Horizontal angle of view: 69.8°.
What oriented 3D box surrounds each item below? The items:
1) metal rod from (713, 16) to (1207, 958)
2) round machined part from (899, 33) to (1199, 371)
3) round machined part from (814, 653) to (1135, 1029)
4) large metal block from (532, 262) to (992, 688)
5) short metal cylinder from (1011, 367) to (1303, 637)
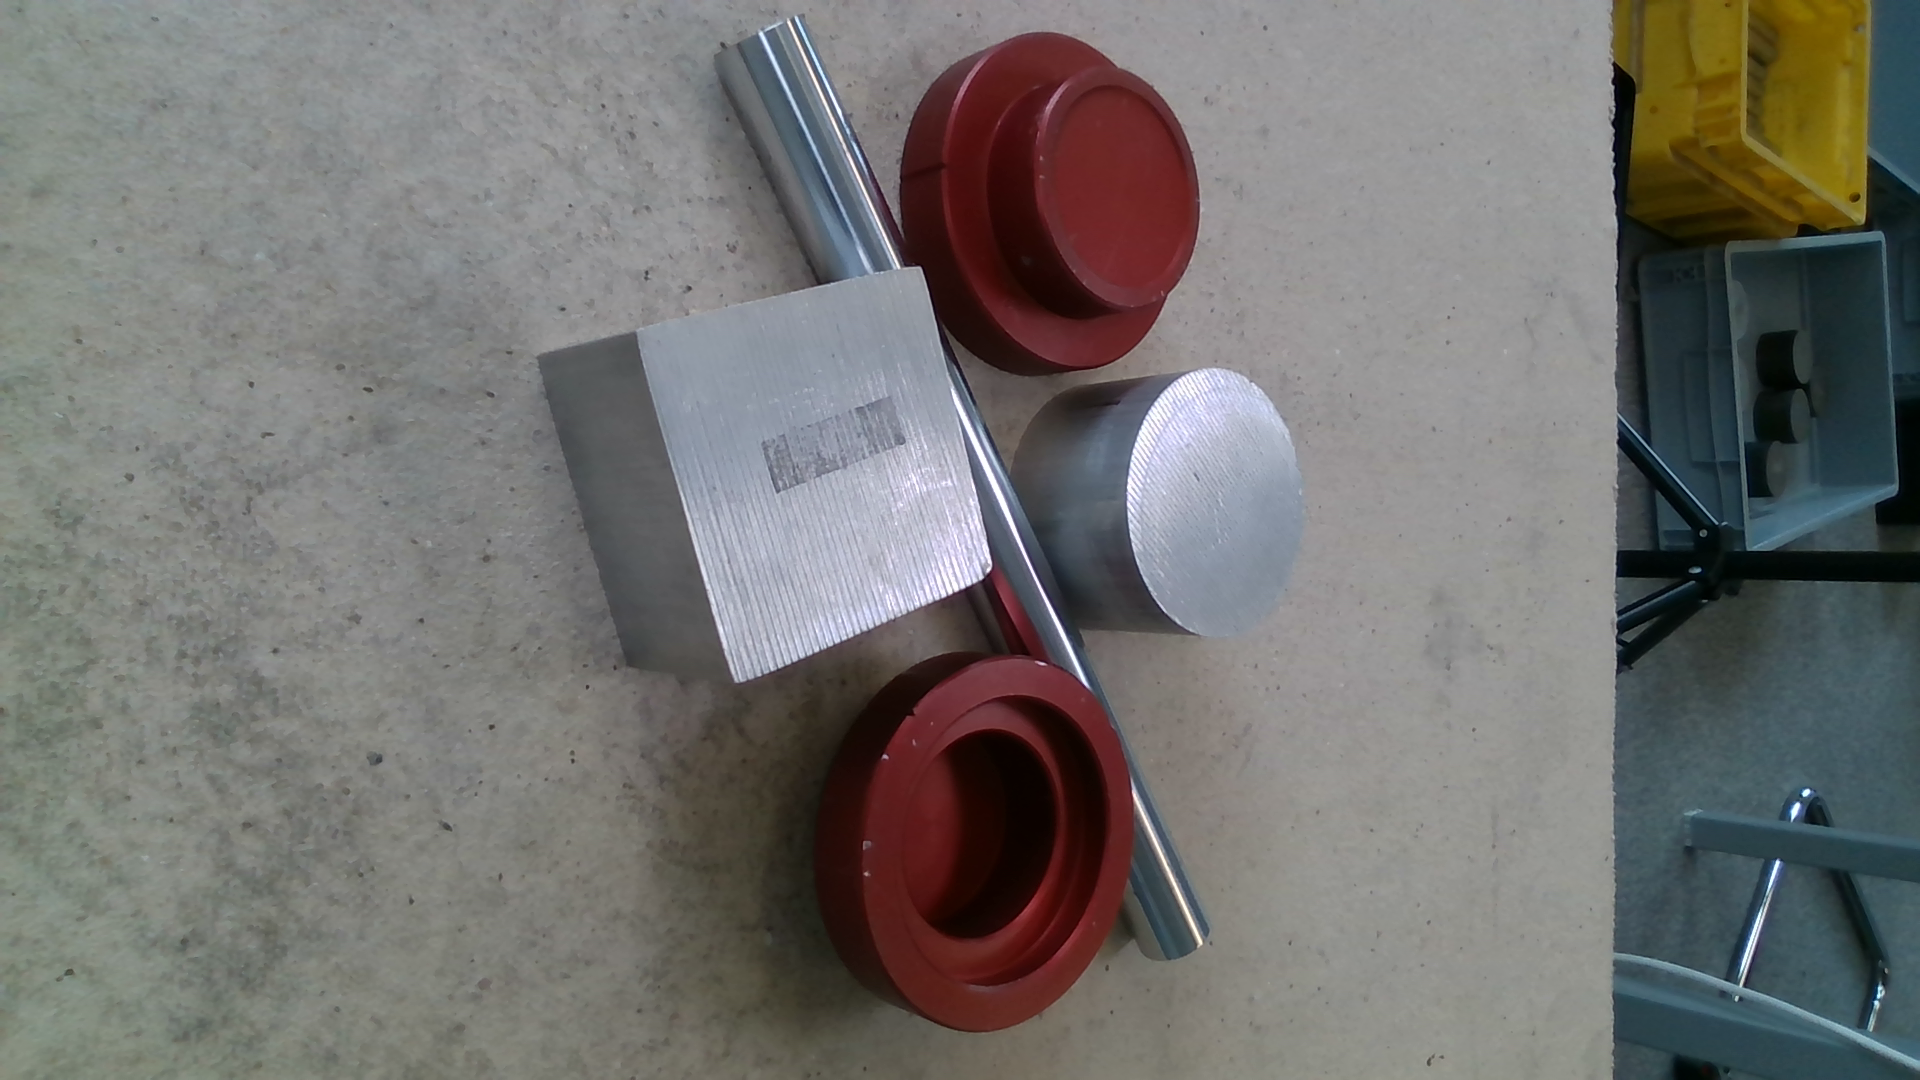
[{"bbox_3d":[0.009,0.000,0.400,0.025,0.025,0.301,-39,114,-33],"label":"metal rod"},{"bbox_3d":[0.033,-0.100,0.407,0.098,0.042,0.098,0,90,-40],"label":"round machined part"},{"bbox_3d":[0.000,0.080,0.380,0.098,0.042,0.098,0,90,-40],"label":"round machined part"},{"bbox_3d":[-0.046,-0.018,0.337,0.080,0.050,0.080,-22,104,-38],"label":"large metal block"},{"bbox_3d":[0.061,-0.011,0.426,0.080,0.050,0.080,0,90,-40],"label":"short metal cylinder"}]
